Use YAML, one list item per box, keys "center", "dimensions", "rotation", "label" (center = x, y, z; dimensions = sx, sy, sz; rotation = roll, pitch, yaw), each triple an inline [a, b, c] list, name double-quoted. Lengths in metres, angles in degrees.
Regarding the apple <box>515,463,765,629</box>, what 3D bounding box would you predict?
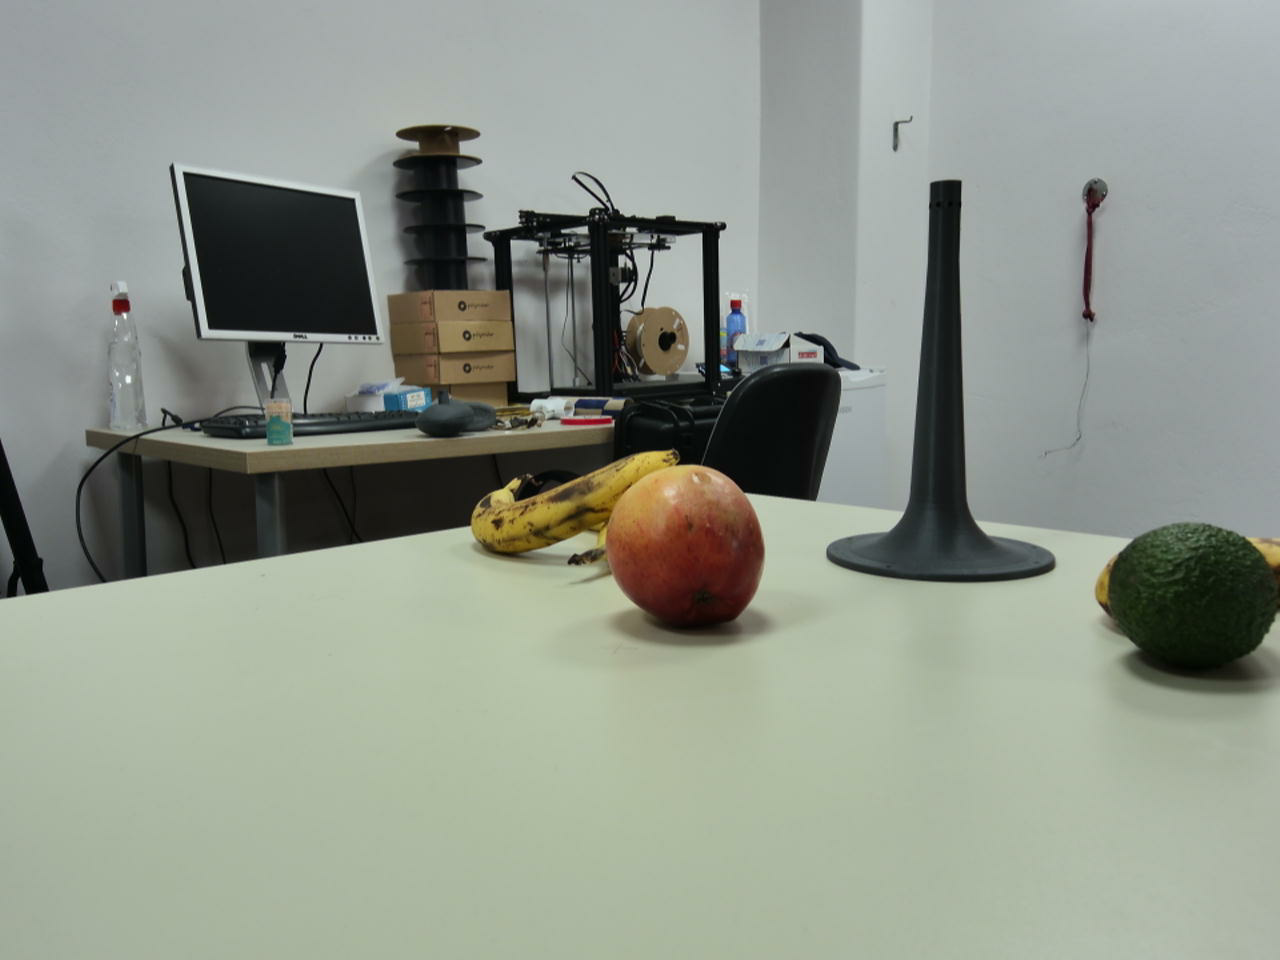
- center: [0.025, 0.034, 0.549]
  dimensions: [0.086, 0.084, 0.093]
  rotation: [2, 5, 12]
  label: "apple"
